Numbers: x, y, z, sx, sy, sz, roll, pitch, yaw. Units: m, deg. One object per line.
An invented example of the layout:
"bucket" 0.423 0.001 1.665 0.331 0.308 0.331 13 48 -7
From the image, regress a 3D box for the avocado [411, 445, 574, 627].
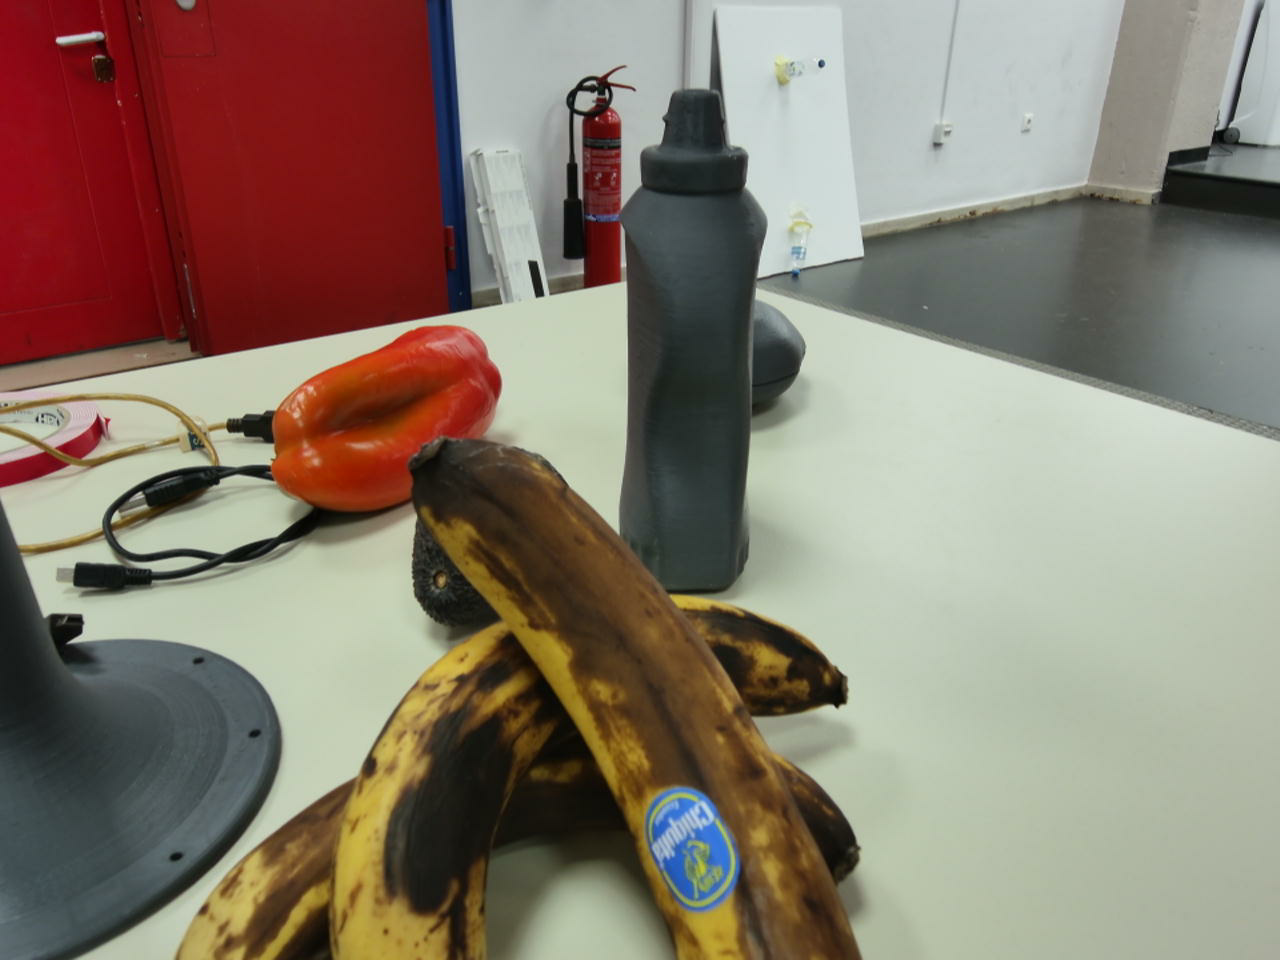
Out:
"avocado" -0.063 0.020 0.408 0.062 0.062 0.092 12 26 25
